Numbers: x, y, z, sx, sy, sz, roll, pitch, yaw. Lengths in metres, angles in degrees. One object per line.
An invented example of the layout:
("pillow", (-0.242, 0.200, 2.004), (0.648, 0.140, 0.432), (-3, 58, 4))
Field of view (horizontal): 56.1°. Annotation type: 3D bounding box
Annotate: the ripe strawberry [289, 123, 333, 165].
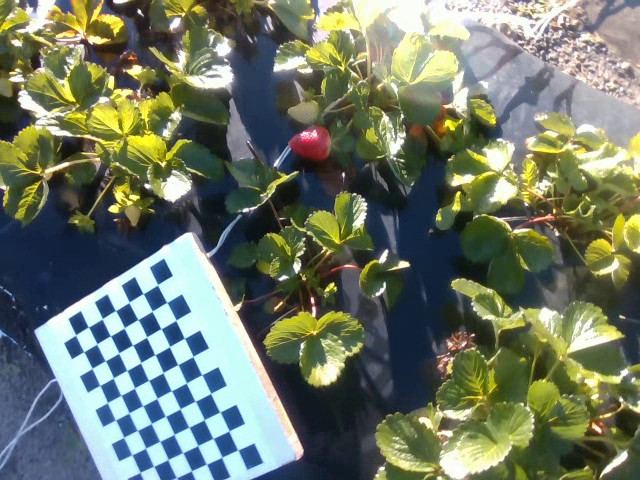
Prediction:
("ripe strawberry", (-0.012, -0.142, 0.861), (0.080, 0.063, 0.040), (-5, 7, -21))
